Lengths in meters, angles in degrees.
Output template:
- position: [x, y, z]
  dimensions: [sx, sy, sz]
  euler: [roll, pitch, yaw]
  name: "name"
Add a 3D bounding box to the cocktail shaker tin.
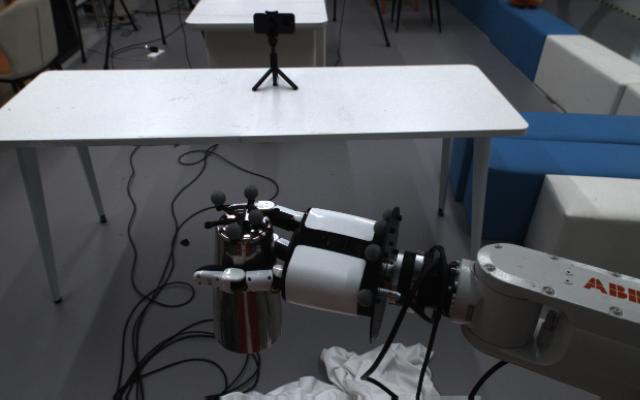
- position: [-0.091, 0.099, 0.607]
  dimensions: [0.093, 0.170, 0.093]
  euler: [2, 33, -1]
  name: "cocktail shaker tin"
